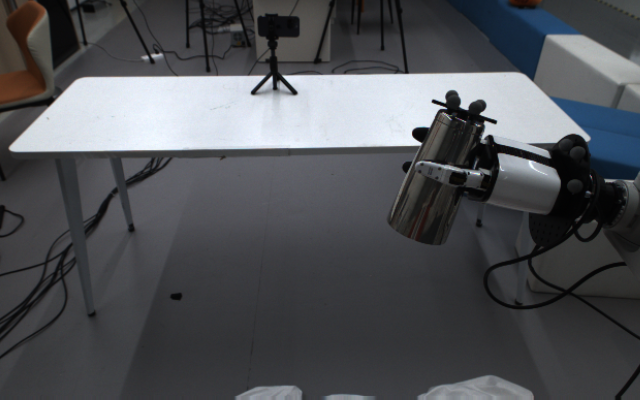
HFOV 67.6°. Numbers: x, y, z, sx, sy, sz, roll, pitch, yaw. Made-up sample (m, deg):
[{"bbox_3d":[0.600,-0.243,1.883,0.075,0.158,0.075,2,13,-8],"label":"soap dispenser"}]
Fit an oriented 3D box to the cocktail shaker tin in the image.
[{"bbox_3d":[0.165,-0.035,0.674,0.093,0.170,0.093,15,21,-6],"label":"cocktail shaker tin"}]
